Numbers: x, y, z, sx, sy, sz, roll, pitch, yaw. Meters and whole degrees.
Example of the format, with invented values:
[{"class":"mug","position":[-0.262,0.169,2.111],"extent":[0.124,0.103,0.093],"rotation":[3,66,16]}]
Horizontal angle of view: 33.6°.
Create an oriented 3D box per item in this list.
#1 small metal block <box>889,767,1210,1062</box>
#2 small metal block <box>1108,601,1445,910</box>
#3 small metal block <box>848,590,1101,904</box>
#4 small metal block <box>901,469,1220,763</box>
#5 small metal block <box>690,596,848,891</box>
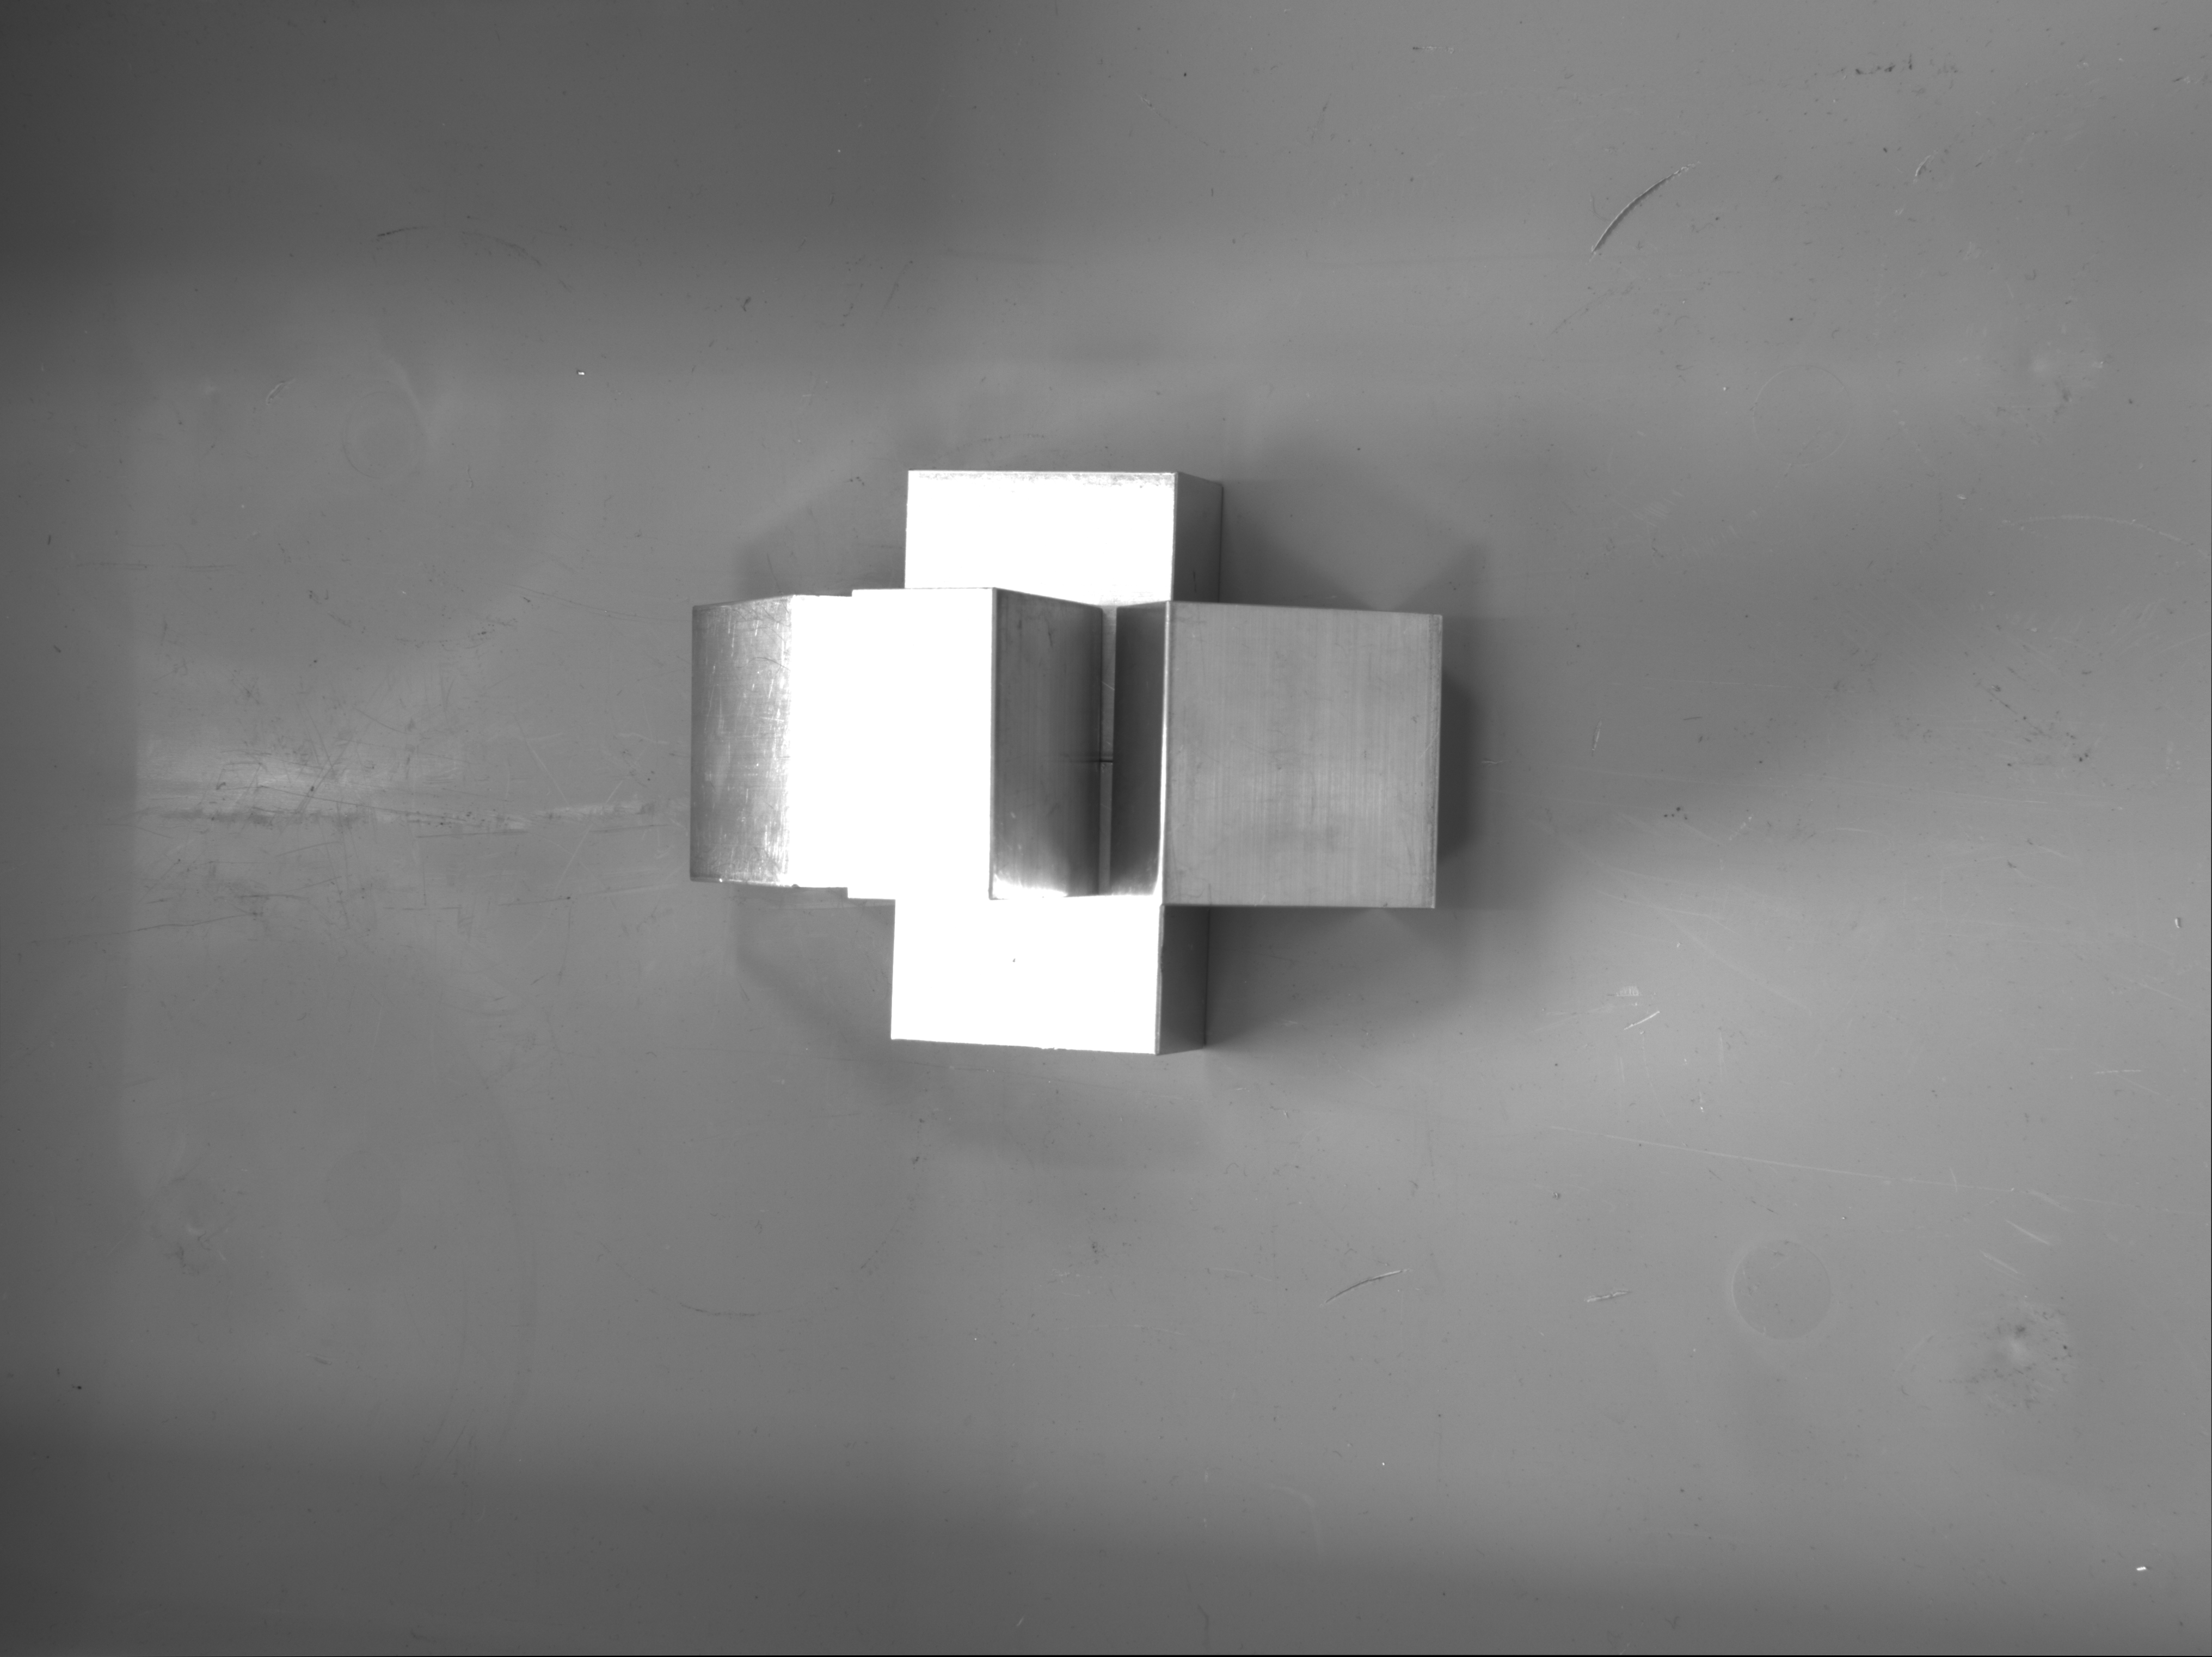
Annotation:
[{"class":"small metal block","position":[-0.009,0.014,0.648],"extent":[0.050,0.025,0.050],"rotation":[3,91,20]},{"class":"small metal block","position":[0.029,-0.012,0.622],"extent":[0.050,0.025,0.050],"rotation":[1,91,-19]},{"class":"small metal block","position":[-0.021,-0.013,0.612],"extent":[0.025,0.050,0.050],"rotation":[0,90,20]},{"class":"small metal block","position":[-0.008,-0.037,0.647],"extent":[0.050,0.025,0.050],"rotation":[3,91,19]},{"class":"small metal block","position":[-0.053,-0.015,0.649],"extent":[0.050,0.025,0.050],"rotation":[1,91,64]}]
